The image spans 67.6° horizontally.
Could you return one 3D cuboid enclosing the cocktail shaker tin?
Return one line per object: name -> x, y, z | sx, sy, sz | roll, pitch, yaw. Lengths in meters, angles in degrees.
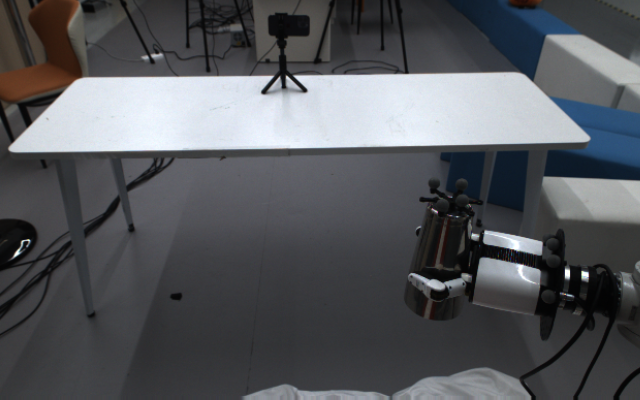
cocktail shaker tin -> 0.183, 0.082, 0.724 | 0.093, 0.170, 0.093 | 2, 28, -1
